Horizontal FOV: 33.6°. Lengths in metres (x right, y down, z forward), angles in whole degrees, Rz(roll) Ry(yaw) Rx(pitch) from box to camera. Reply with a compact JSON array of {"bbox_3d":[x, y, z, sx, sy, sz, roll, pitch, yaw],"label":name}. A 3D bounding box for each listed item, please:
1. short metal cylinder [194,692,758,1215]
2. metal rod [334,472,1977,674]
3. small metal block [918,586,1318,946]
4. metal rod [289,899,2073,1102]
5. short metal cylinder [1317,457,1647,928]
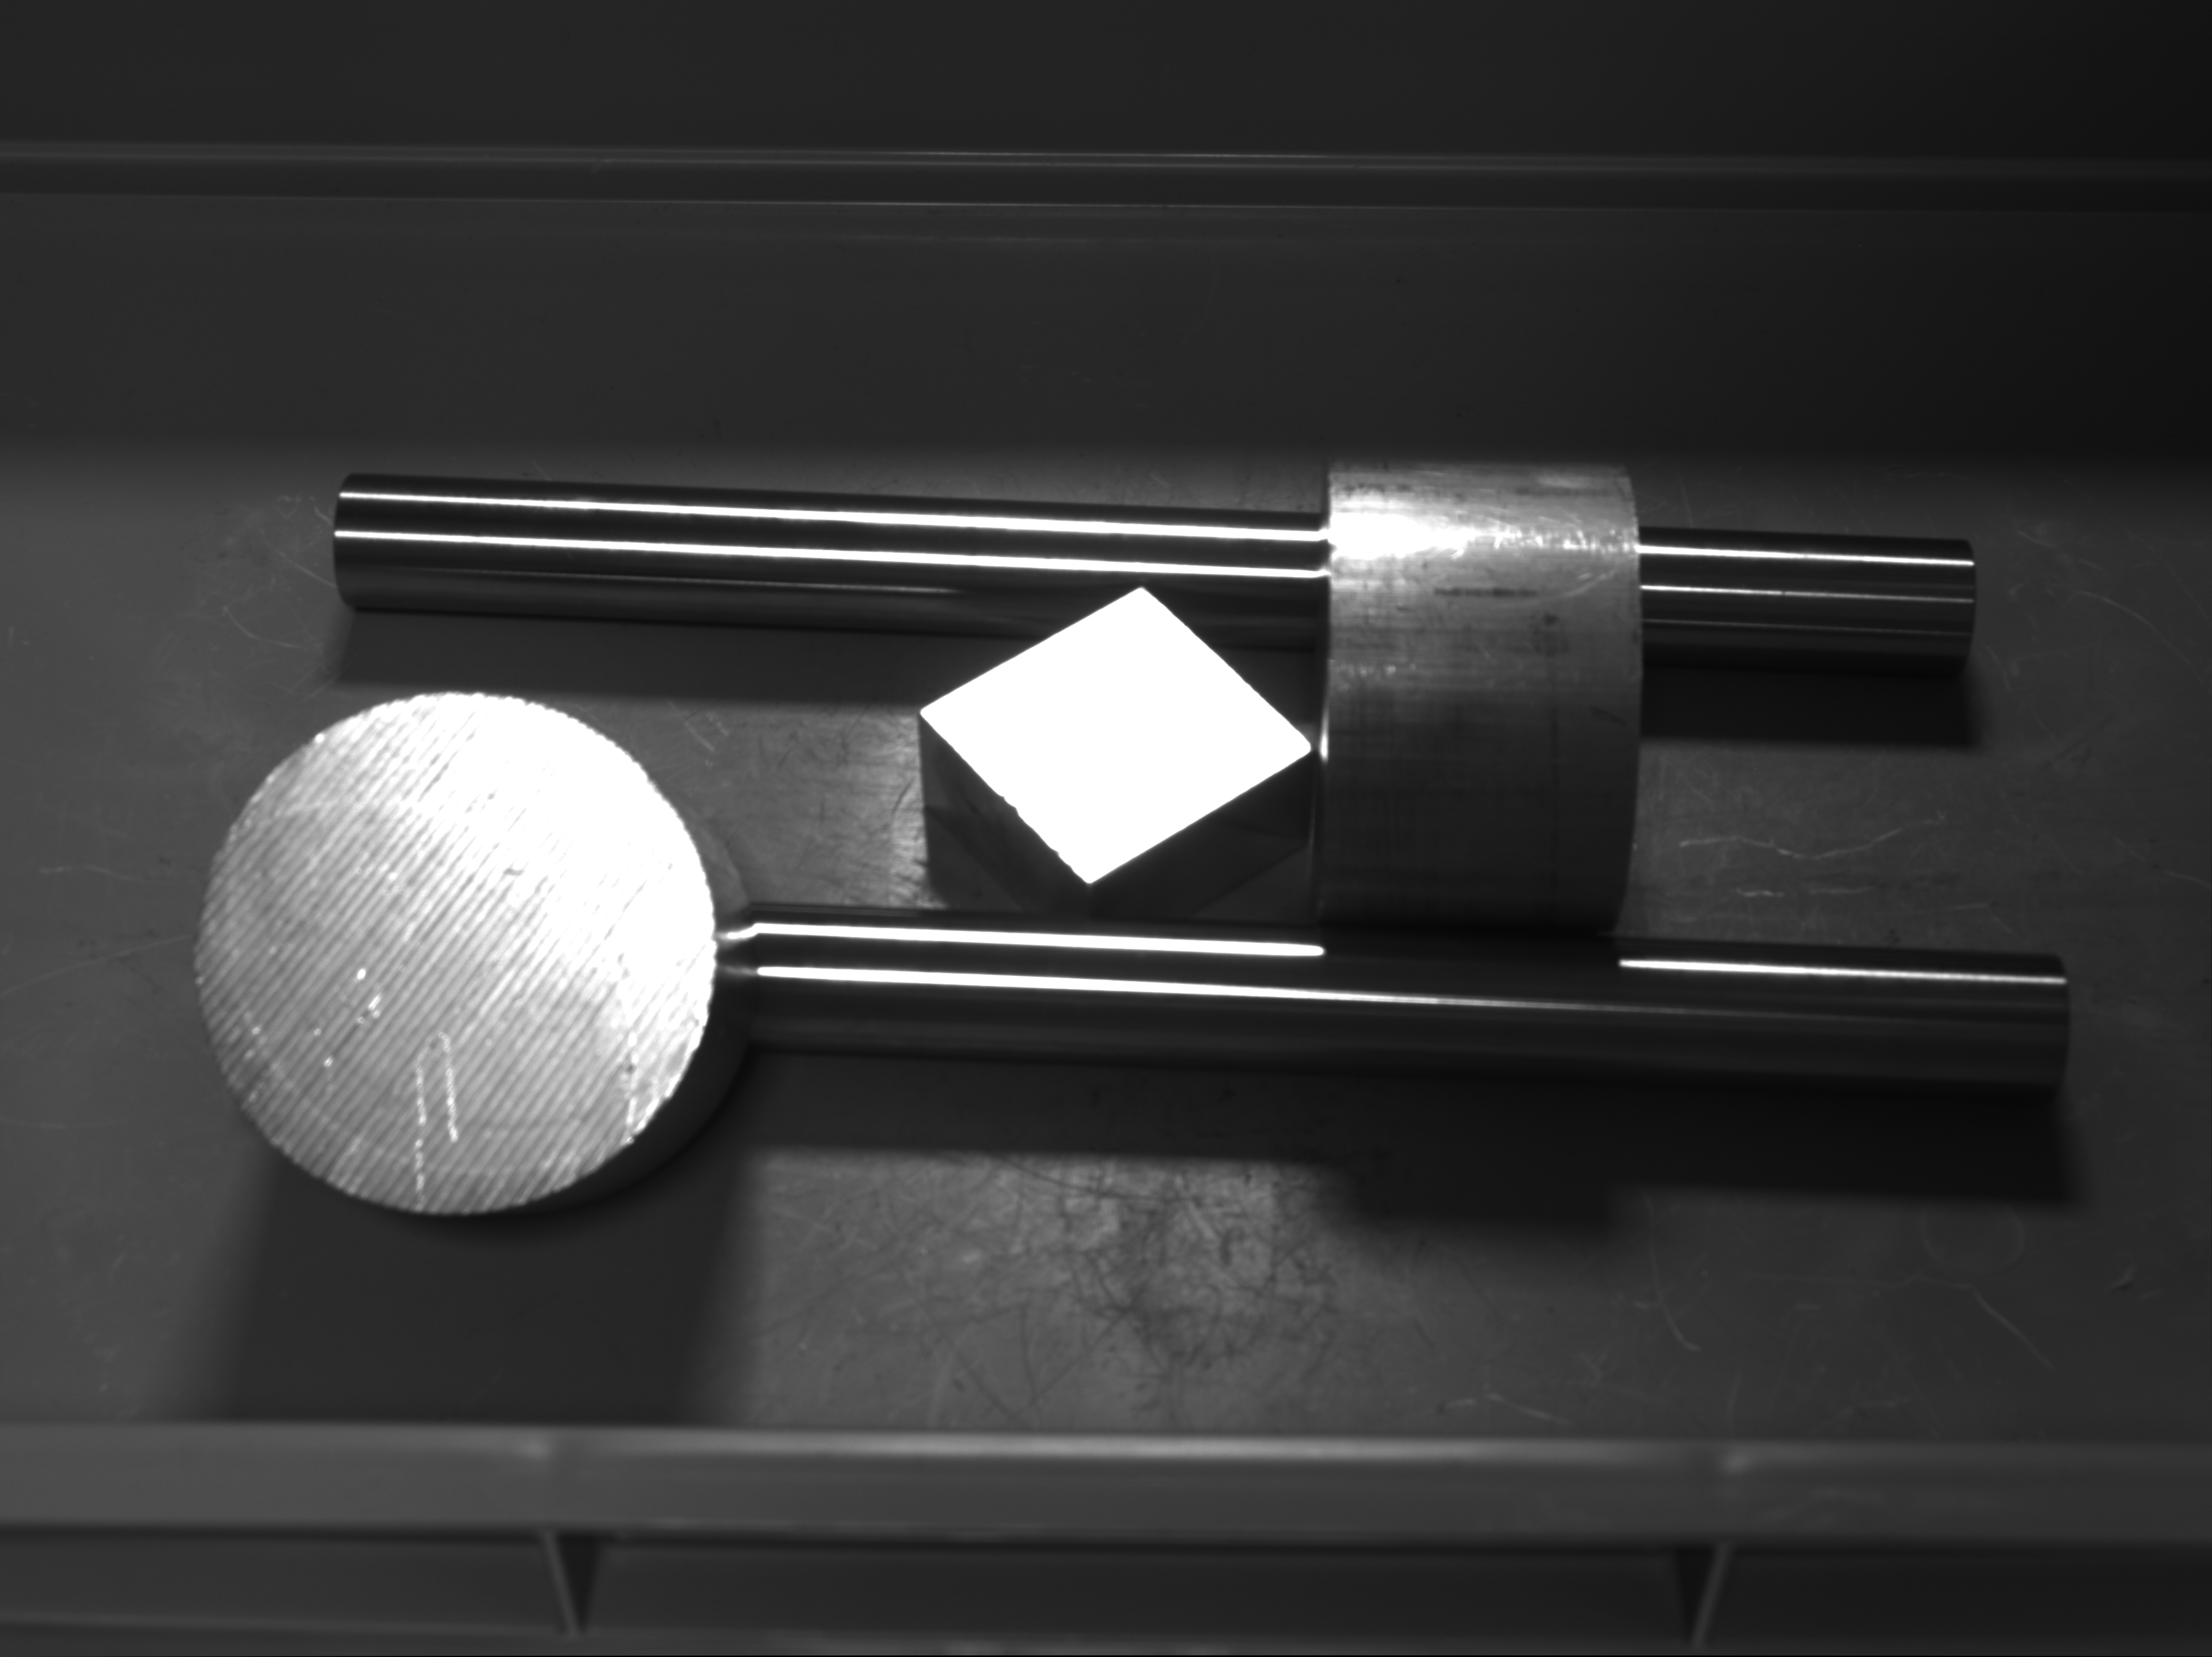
[{"bbox_3d":[-0.098,0.021,0.583,0.080,0.050,0.080,0,84,2],"label":"short metal cylinder"},{"bbox_3d":[0.008,-0.048,0.680,0.300,0.025,0.025,3,50,2],"label":"metal rod"},{"bbox_3d":[0.002,-0.009,0.648,0.050,0.025,0.050,-31,56,-23],"label":"small metal block"},{"bbox_3d":[0.009,0.027,0.617,0.300,0.025,0.025,2,50,2],"label":"metal rod"},{"bbox_3d":[0.062,-0.023,0.624,0.050,0.080,0.080,1,50,1],"label":"short metal cylinder"}]
